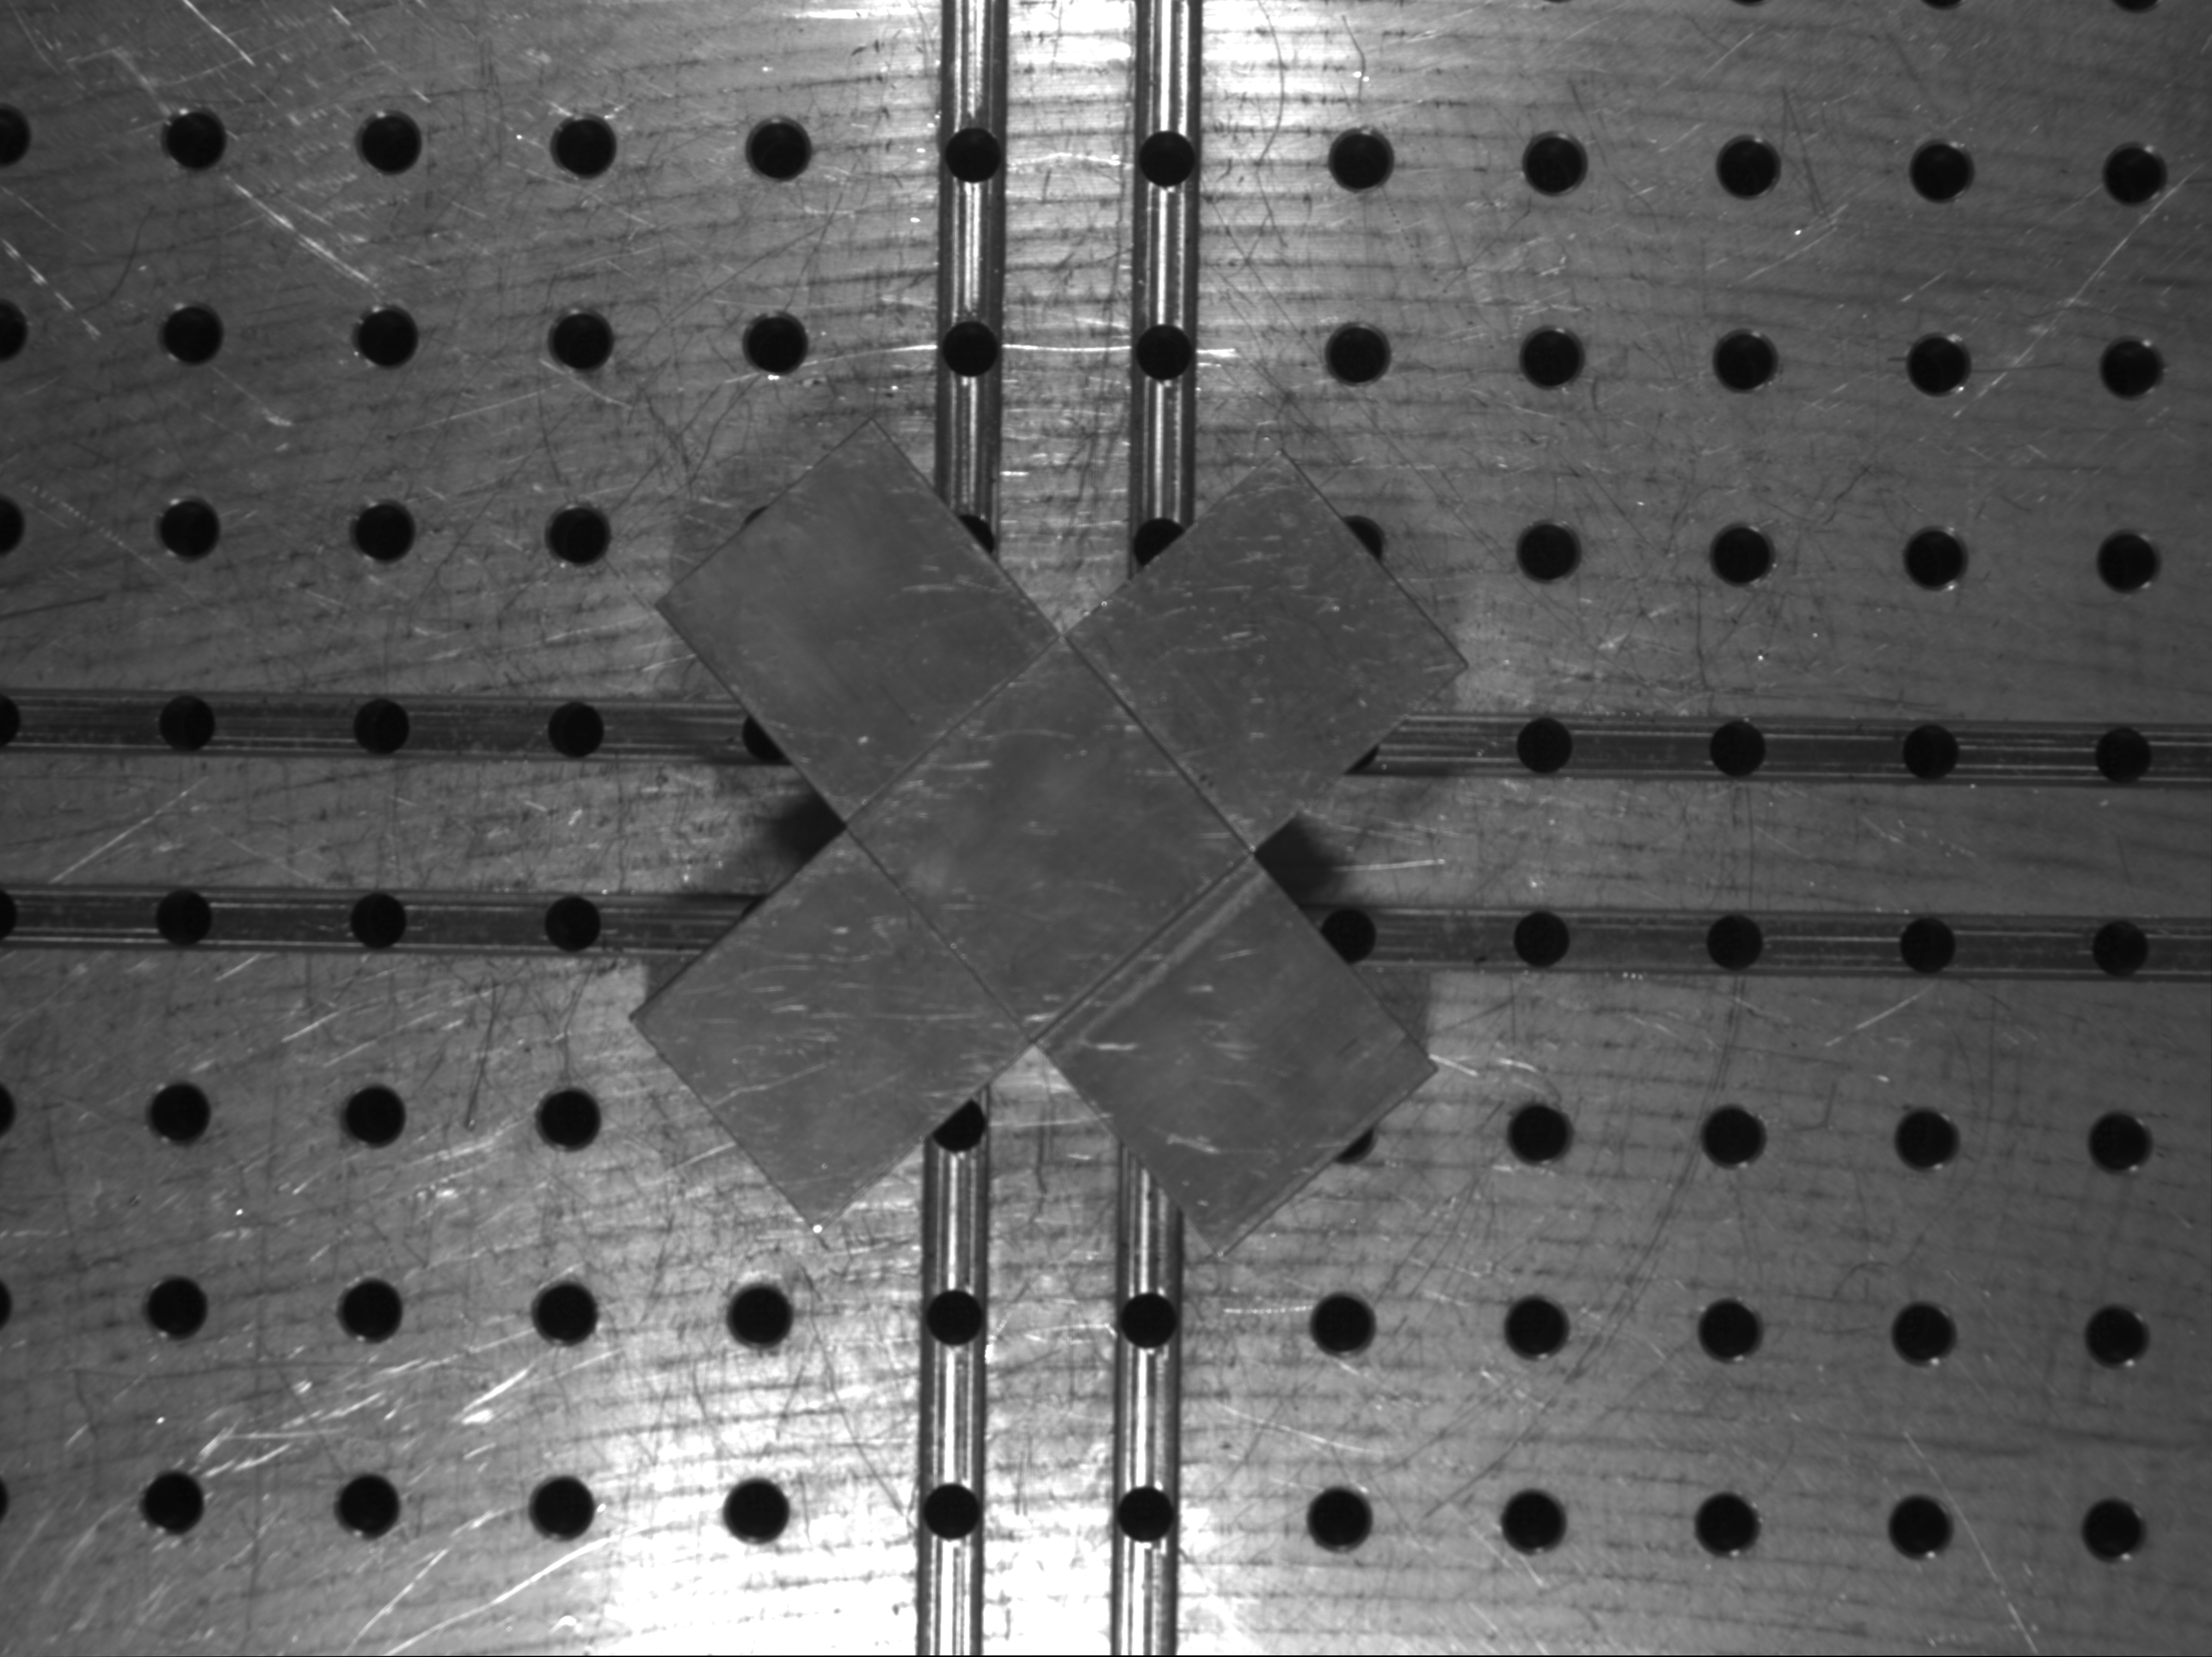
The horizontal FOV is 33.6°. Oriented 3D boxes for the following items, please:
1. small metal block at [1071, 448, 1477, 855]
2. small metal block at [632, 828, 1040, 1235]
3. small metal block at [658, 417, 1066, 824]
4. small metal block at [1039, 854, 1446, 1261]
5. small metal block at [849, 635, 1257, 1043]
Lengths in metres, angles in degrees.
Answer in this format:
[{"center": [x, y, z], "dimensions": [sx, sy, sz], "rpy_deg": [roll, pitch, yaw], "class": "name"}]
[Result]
[{"center": [0.029, -0.031, 0.647], "dimensions": [0.050, 0.025, 0.050], "rpy_deg": [-41, 90, 0], "class": "small metal block"}, {"center": [-0.047, 0.035, 0.647], "dimensions": [0.050, 0.025, 0.050], "rpy_deg": [-41, 90, 0], "class": "small metal block"}, {"center": [-0.042, -0.036, 0.647], "dimensions": [0.050, 0.025, 0.050], "rpy_deg": [-41, 90, 0], "class": "small metal block"}, {"center": [0.024, 0.040, 0.648], "dimensions": [0.050, 0.025, 0.050], "rpy_deg": [-41, 90, 0], "class": "small metal block"}, {"center": [-0.009, 0.002, 0.646], "dimensions": [0.050, 0.025, 0.050], "rpy_deg": [-41, 90, 0], "class": "small metal block"}]
